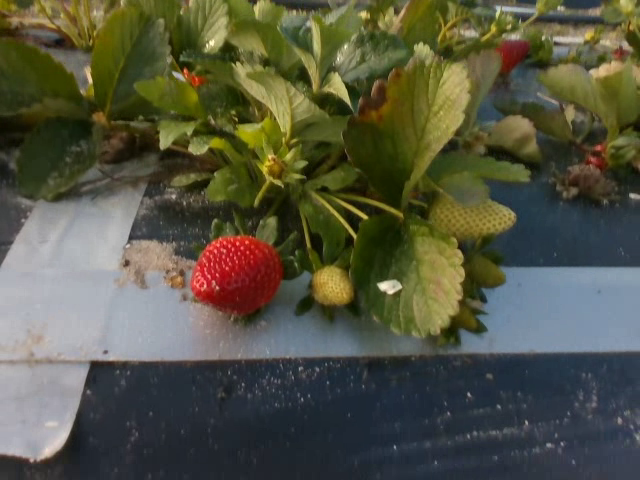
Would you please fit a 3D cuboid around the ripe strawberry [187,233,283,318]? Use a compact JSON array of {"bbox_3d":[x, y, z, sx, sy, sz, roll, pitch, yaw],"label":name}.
[{"bbox_3d":[-0.018,0.007,0.128,0.023,0.021,0.026,-8,14,16],"label":"ripe strawberry"}]
